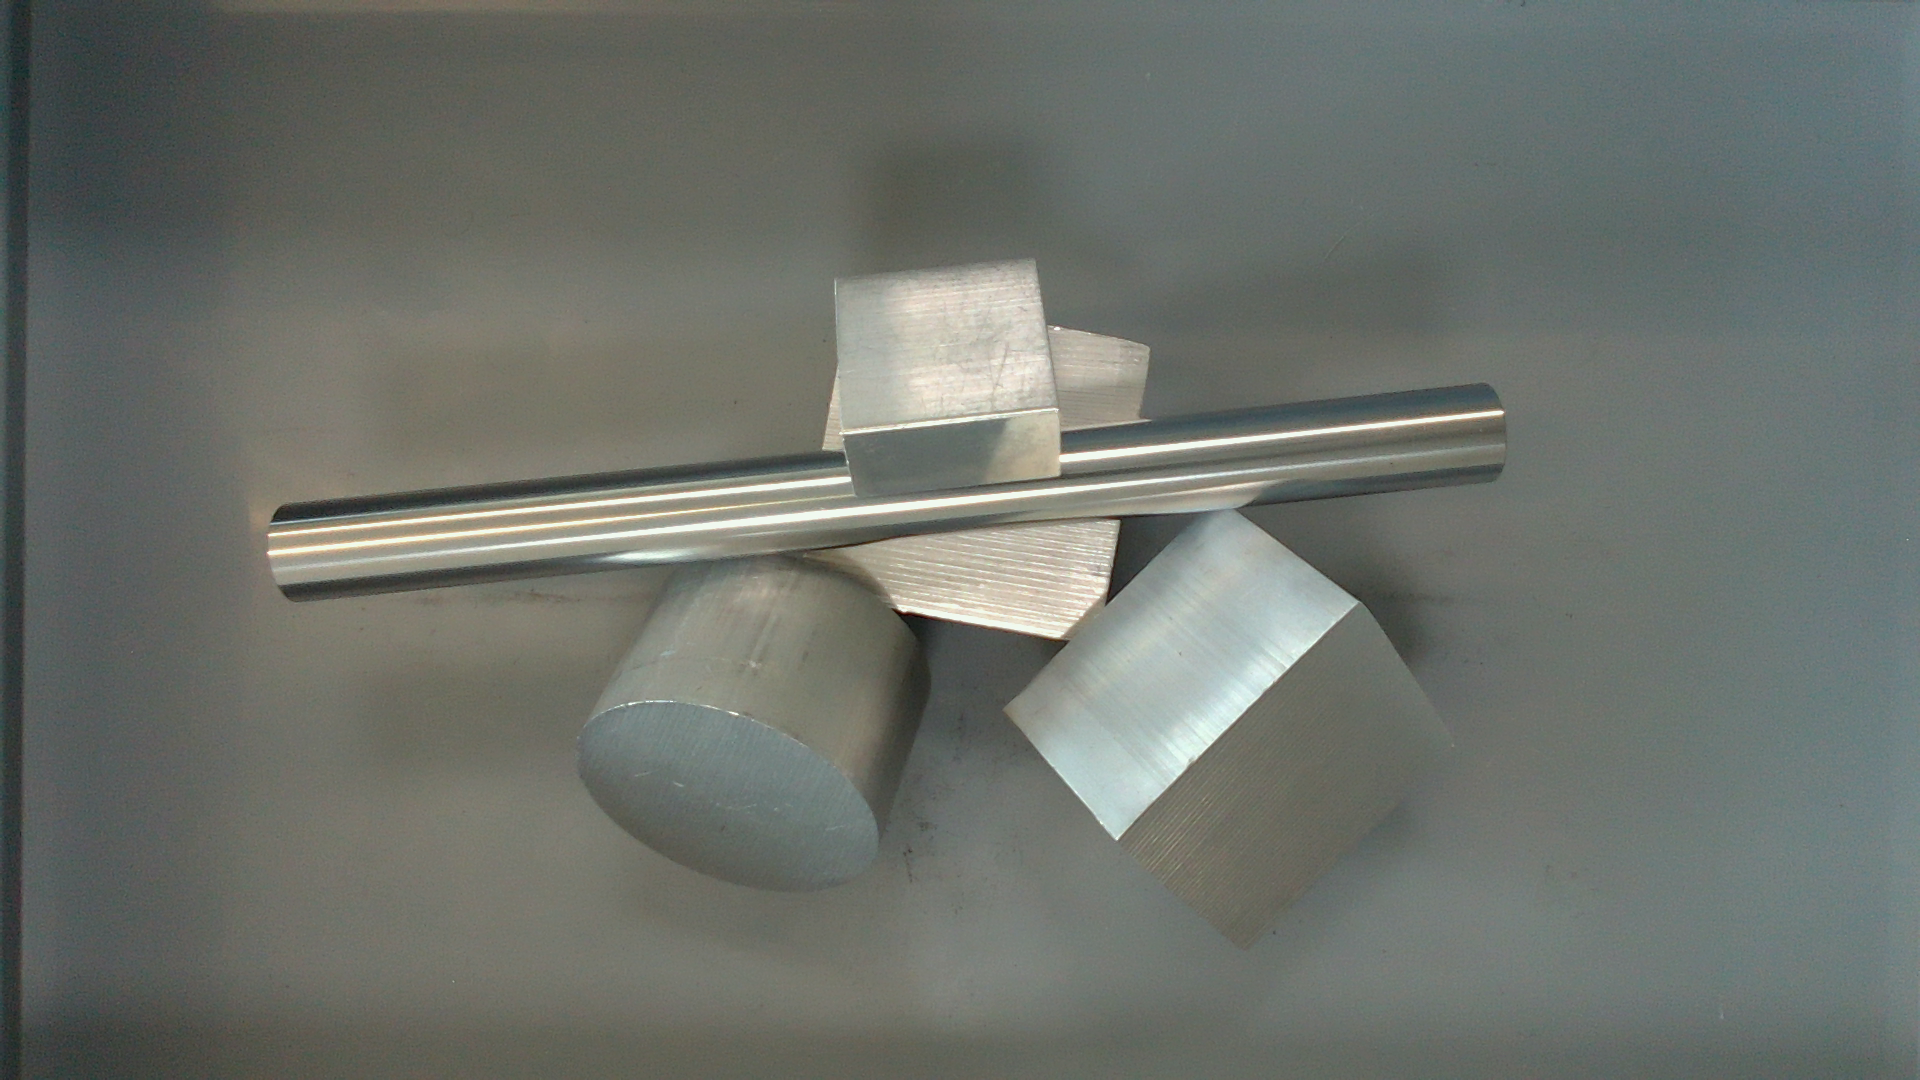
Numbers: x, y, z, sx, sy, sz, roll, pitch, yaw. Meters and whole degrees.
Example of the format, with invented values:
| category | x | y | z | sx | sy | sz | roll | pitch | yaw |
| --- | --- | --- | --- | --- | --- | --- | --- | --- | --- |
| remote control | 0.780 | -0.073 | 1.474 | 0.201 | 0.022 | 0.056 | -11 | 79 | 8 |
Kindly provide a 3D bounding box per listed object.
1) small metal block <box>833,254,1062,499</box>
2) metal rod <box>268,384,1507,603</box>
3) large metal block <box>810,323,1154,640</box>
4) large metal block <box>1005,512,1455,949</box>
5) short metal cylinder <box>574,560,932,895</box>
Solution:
| category | x | y | z | sx | sy | sz | roll | pitch | yaw |
| --- | --- | --- | --- | --- | --- | --- | --- | --- | --- |
| small metal block | -0.003 | -0.040 | 0.332 | 0.050 | 0.025 | 0.050 | -6 | 55 | 0 |
| metal rod | -0.017 | -0.012 | 0.344 | 0.300 | 0.025 | 0.025 | -6 | 90 | 0 |
| large metal block | 0.004 | -0.020 | 0.381 | 0.080 | 0.050 | 0.080 | 11 | 90 | 0 |
| large metal block | 0.072 | 0.049 | 0.361 | 0.080 | 0.050 | 0.080 | -45 | 134 | 0 |
| short metal cylinder | -0.052 | 0.049 | 0.361 | 0.080 | 0.080 | 0.050 | 19 | 47 | 0 |
